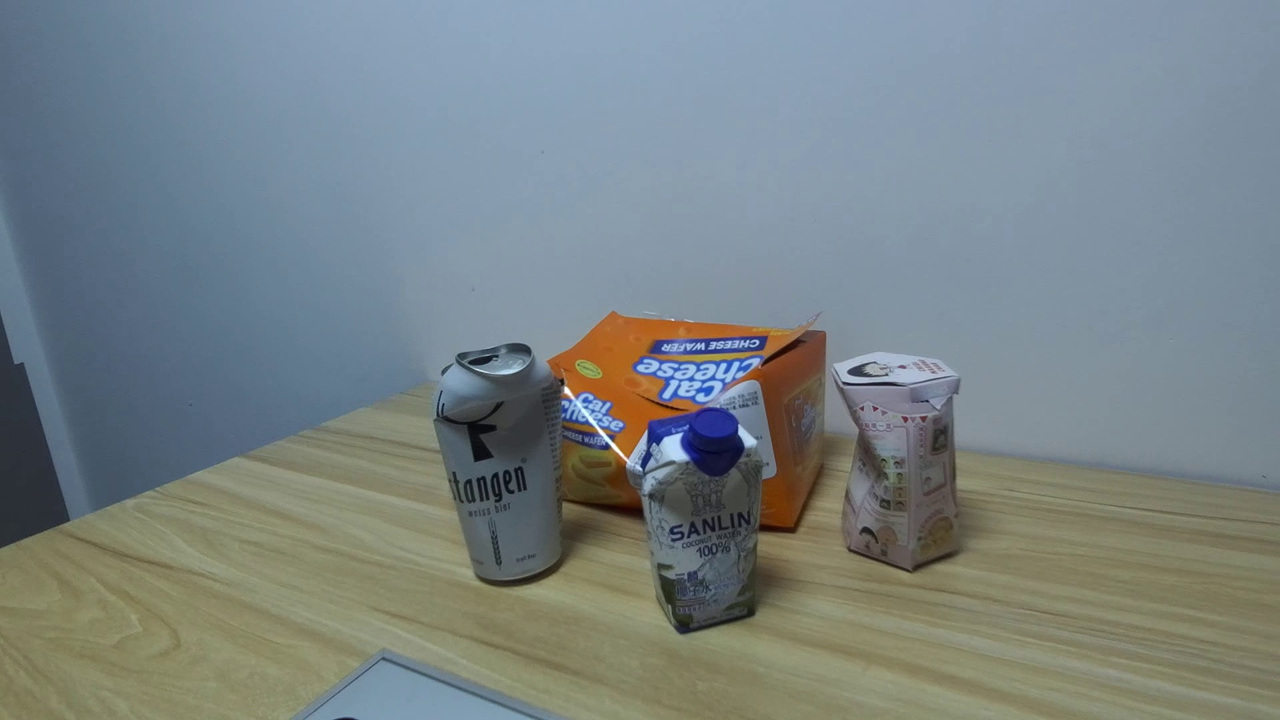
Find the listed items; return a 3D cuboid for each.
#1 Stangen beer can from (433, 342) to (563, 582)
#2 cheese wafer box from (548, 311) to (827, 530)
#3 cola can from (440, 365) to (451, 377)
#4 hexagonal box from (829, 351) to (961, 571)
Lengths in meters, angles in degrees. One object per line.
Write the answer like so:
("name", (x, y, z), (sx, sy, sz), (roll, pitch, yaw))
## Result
("Stangen beer can", (-0.095, 0.073, 0.500), (0.065, 0.162, 0.077), (4, 19, 25))
("cheese wafer box", (0.038, 0.043, 0.612), (0.218, 0.145, 0.192), (4, 17, 23))
("cola can", (-0.107, 0.047, 0.507), (0.066, 0.117, 0.066), (7, 25, -10))
("hexagonal box", (0.183, 0.071, 0.510), (0.091, 0.134, 0.089), (-17, 18, -39))
